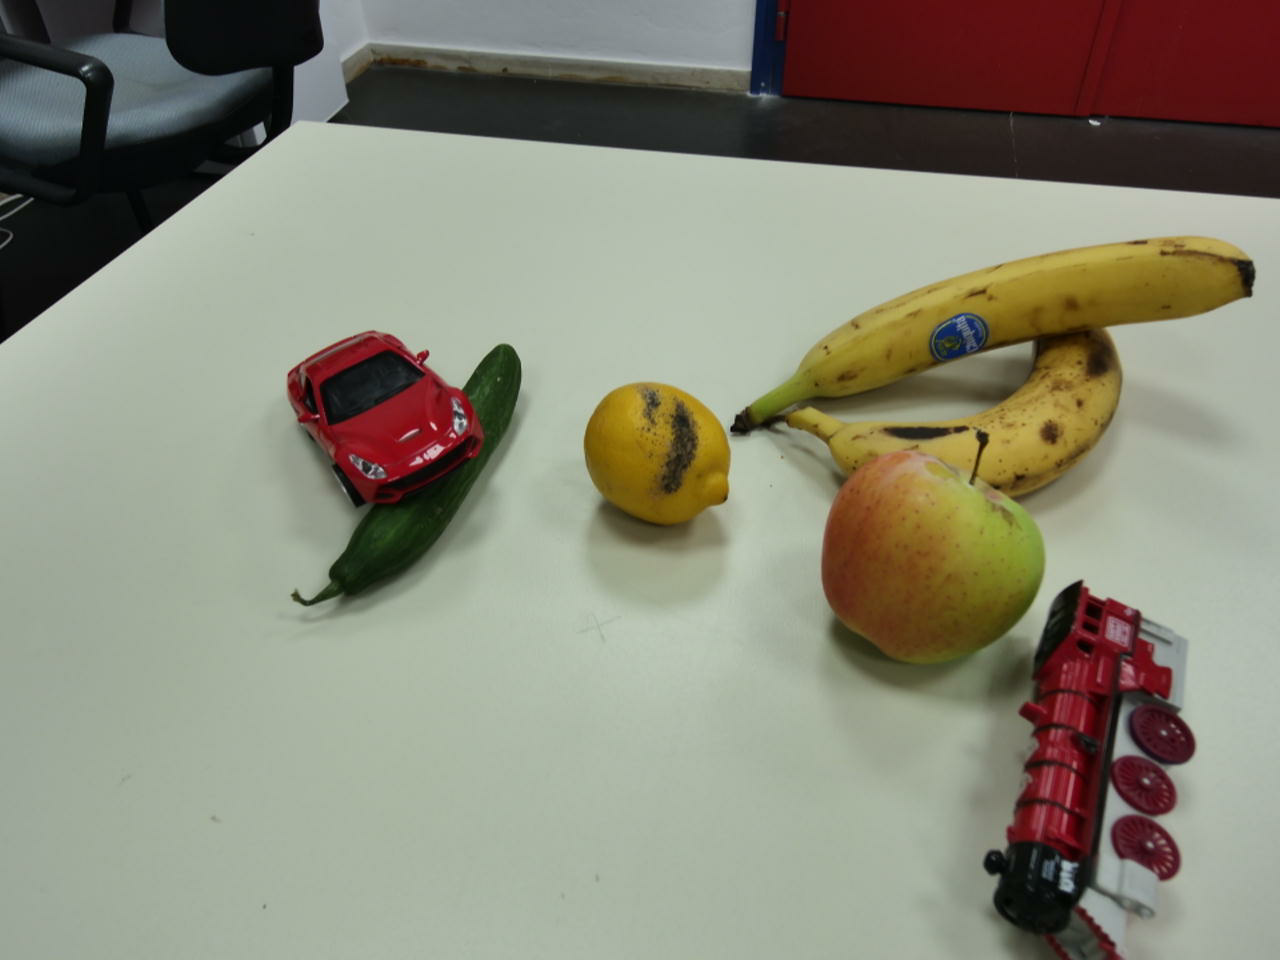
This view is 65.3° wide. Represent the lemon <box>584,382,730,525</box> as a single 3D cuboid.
[{"bbox_3d":[0.008,-0.011,0.417,0.061,0.056,0.058,5,38,5],"label":"lemon"}]
